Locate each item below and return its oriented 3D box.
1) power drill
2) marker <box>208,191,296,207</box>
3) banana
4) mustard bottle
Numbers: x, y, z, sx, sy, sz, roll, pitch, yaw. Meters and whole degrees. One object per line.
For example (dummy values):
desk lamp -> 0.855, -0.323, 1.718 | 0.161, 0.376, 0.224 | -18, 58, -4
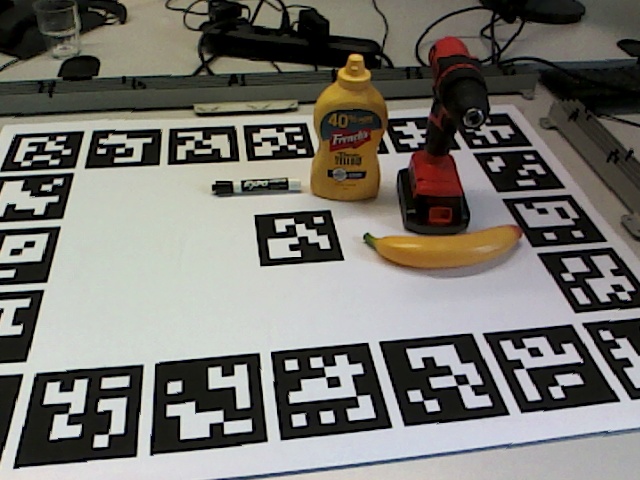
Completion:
power drill -> 0.149, -0.099, 0.766 | 0.057, 0.186, 0.185 | 7, 40, 1
marker -> -0.095, -0.057, 0.860 | 0.121, 0.019, 0.020 | -2, 43, -6
banana -> 0.148, 0.031, 0.763 | 0.197, 0.039, 0.074 | 0, 44, 0
mustard bottle -> 0.035, -0.123, 0.811 | 0.096, 0.191, 0.058 | 4, 42, 0
